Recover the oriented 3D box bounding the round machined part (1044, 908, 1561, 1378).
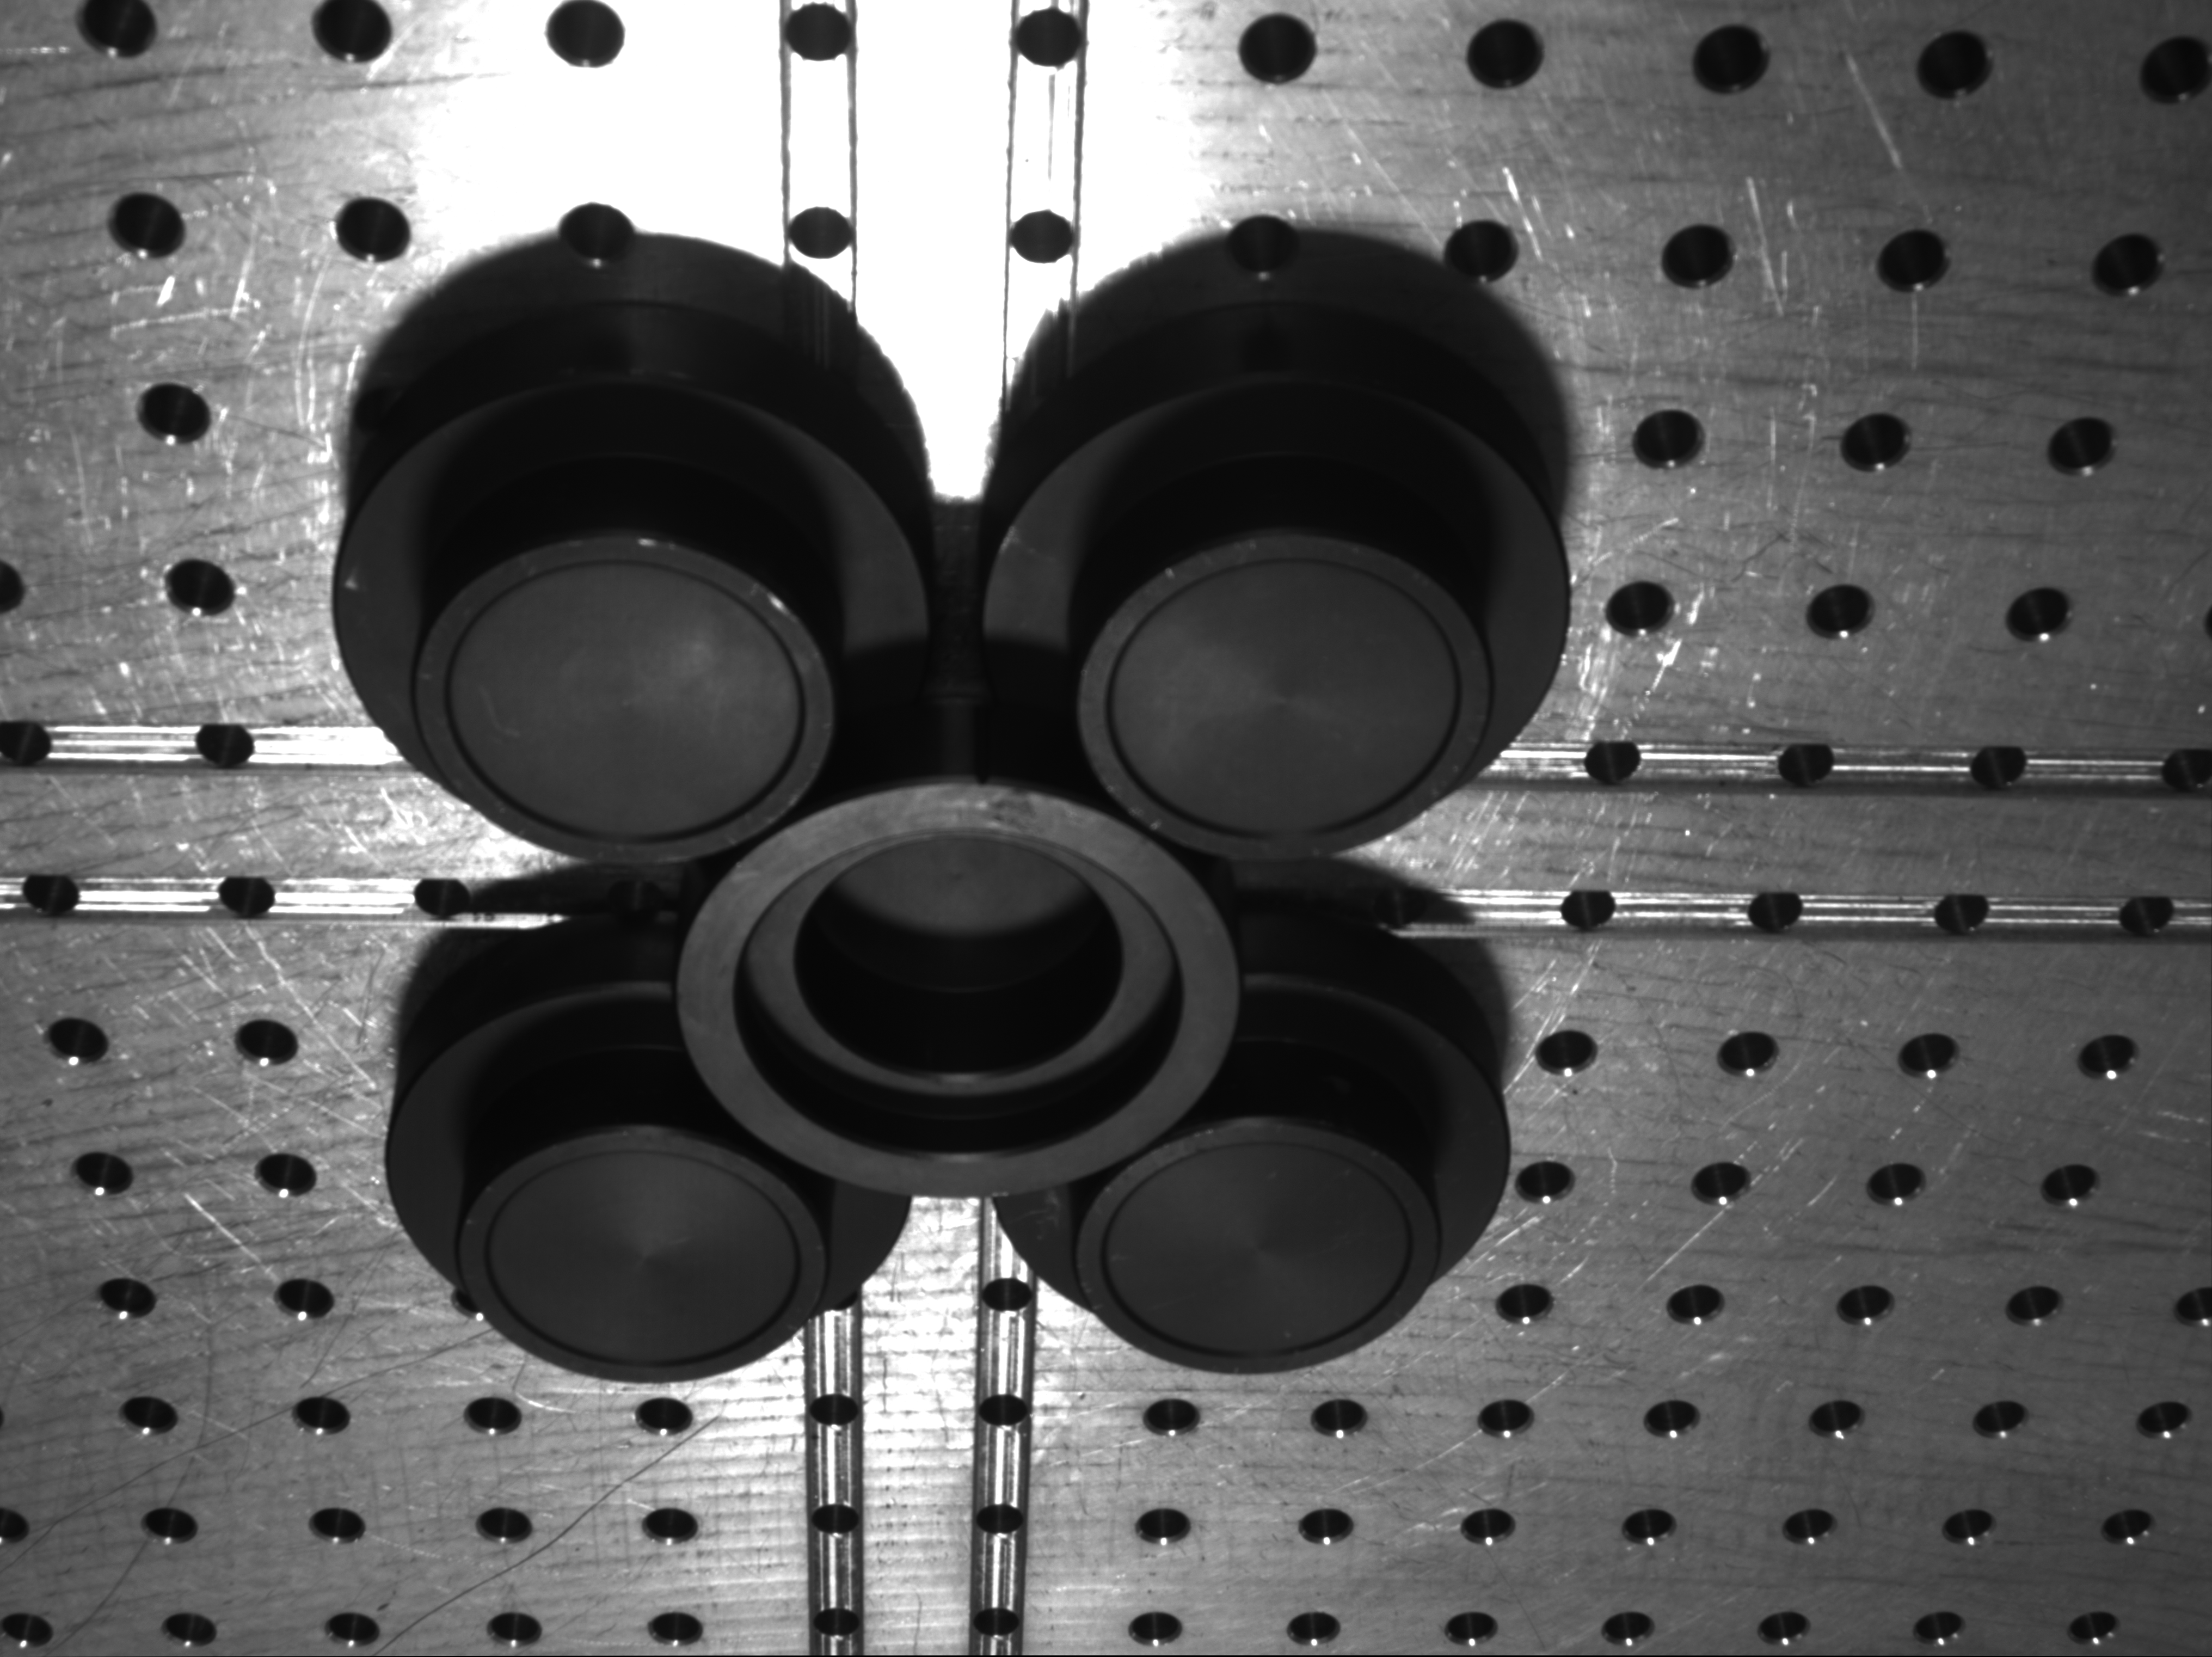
[{"bbox_3d":[0.036,0.065,0.685,0.098,0.042,0.098,-1,130,-1],"label":"round machined part"}]

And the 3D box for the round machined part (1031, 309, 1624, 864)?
[{"bbox_3d":[0.037,-0.033,0.603,0.098,0.042,0.098,-1,130,-1],"label":"round machined part"}]

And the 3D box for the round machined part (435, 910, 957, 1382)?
[{"bbox_3d":[-0.076,0.065,0.683,0.098,0.042,0.098,-1,130,-1],"label":"round machined part"}]

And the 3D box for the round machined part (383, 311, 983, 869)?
[{"bbox_3d":[-0.069,-0.032,0.600,0.098,0.042,0.098,-1,130,-1],"label":"round machined part"}]

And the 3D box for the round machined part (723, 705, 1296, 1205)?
[{"bbox_3d":[-0.017,0.017,0.642,0.098,0.042,0.098,-1,130,-1],"label":"round machined part"}]
